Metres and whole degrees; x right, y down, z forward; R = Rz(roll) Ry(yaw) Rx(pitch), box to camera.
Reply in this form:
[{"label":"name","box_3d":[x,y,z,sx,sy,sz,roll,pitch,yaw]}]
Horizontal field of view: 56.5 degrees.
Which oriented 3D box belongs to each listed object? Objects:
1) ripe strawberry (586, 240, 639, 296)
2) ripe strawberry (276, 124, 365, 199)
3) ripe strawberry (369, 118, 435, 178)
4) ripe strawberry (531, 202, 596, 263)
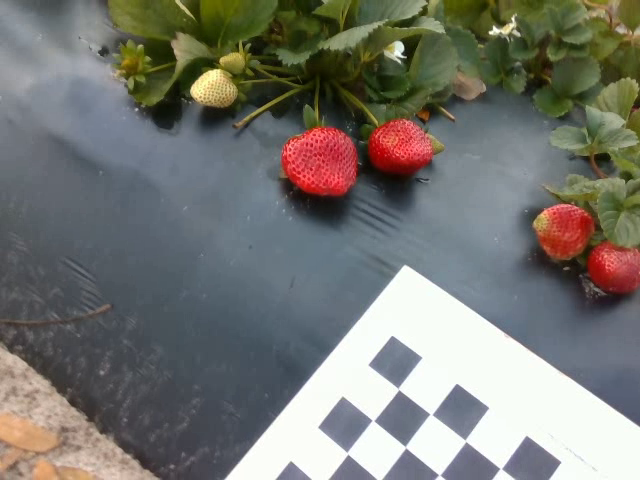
[{"label":"ripe strawberry","box_3d":[0.190,0.016,0.373,0.043,0.041,0.049,31,16,18]},{"label":"ripe strawberry","box_3d":[0.000,-0.053,0.411,0.058,0.065,0.044,-25,-37,5]},{"label":"ripe strawberry","box_3d":[0.060,-0.068,0.434,0.050,0.051,0.060,-31,21,4]},{"label":"ripe strawberry","box_3d":[0.161,-0.006,0.398,0.053,0.047,0.038,20,-10,-18]}]
